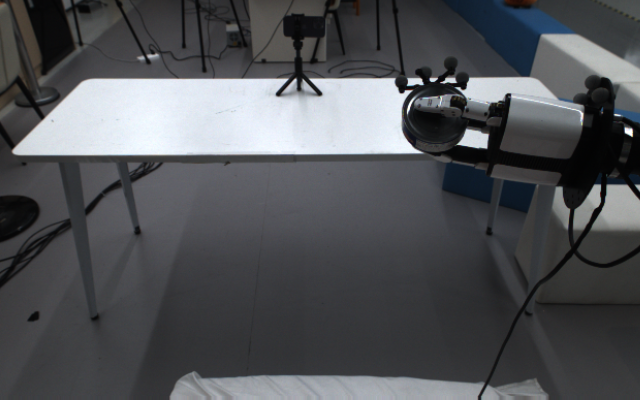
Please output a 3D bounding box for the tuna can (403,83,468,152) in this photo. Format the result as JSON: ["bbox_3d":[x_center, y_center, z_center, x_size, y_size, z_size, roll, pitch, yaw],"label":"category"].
[{"bbox_3d":[0.149,-0.107,0.628,0.085,0.034,0.085,-2,69,6],"label":"tuna can"}]
